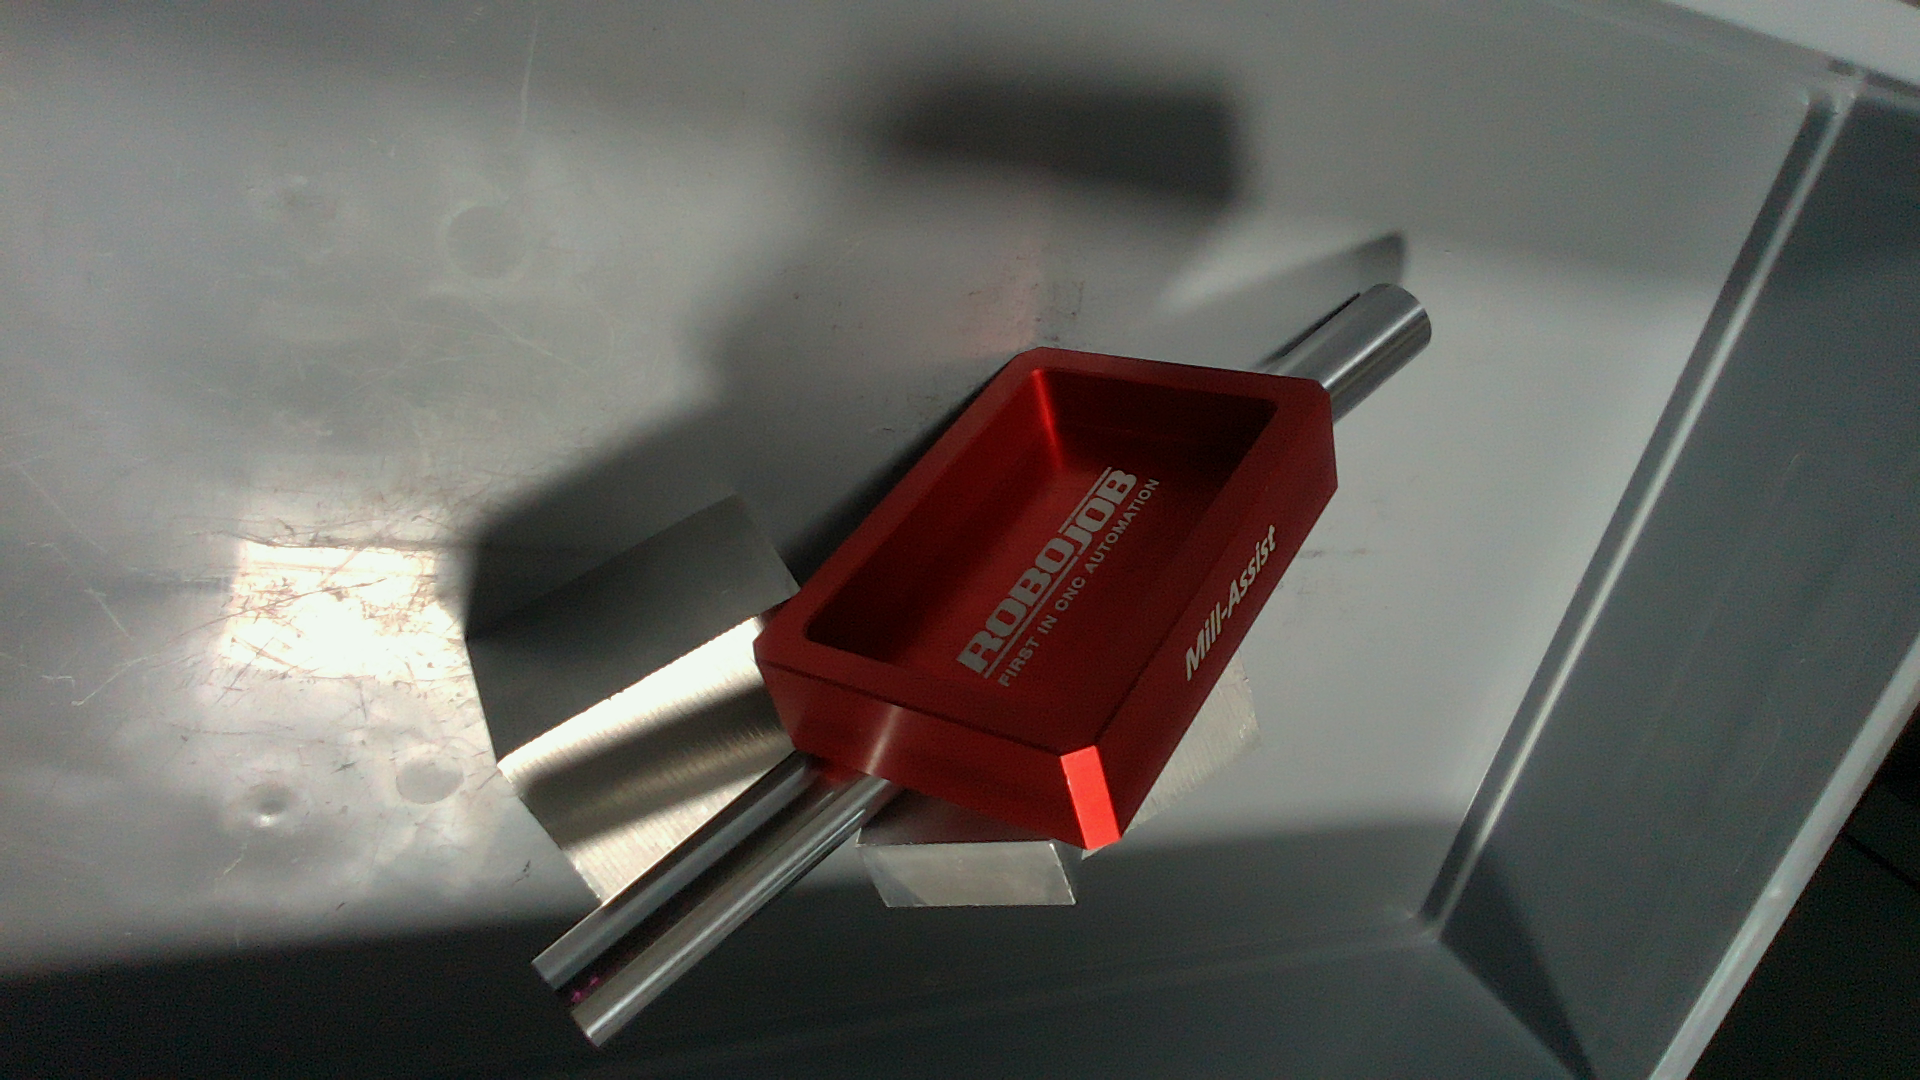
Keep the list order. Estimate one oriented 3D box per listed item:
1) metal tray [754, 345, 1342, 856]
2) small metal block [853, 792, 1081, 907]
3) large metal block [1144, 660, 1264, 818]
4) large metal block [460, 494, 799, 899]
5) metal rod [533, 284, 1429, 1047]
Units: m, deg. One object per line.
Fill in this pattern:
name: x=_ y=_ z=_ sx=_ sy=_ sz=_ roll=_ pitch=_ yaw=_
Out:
metal tray: x=0.025 y=0.005 z=0.328 sx=0.130 sy=0.090 sz=0.030 roll=-50 pitch=139 yaw=-36
small metal block: x=0.006 y=0.065 z=0.352 sx=0.050 sy=0.050 sz=0.025 roll=-5 pitch=129 yaw=18
large metal block: x=0.038 y=0.043 z=0.419 sx=0.080 sy=0.050 sz=0.080 roll=-30 pitch=128 yaw=-9
large metal block: x=-0.070 y=0.049 z=0.361 sx=0.080 sy=0.050 sz=0.080 roll=-30 pitch=128 yaw=-9
metal rod: x=0.023 y=0.018 z=0.363 sx=0.301 sy=0.025 sz=0.025 roll=-38 pitch=131 yaw=-22
